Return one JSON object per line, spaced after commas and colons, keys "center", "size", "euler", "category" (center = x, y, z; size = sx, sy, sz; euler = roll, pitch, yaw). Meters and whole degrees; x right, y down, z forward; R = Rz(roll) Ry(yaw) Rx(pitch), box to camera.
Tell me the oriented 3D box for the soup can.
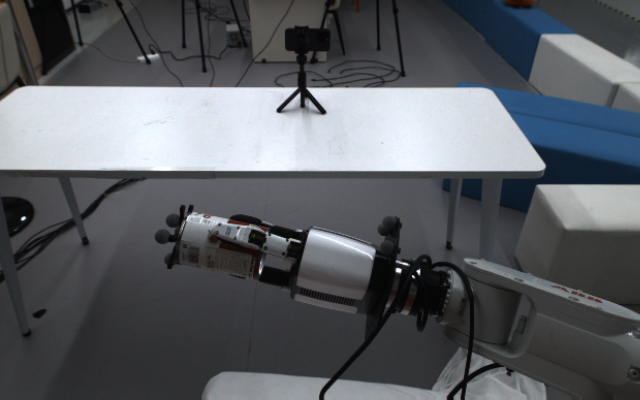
{"center": [-0.116, 0.058, 0.600], "size": [0.101, 0.067, 0.067], "euler": [12, 35, -2], "category": "soup can"}
